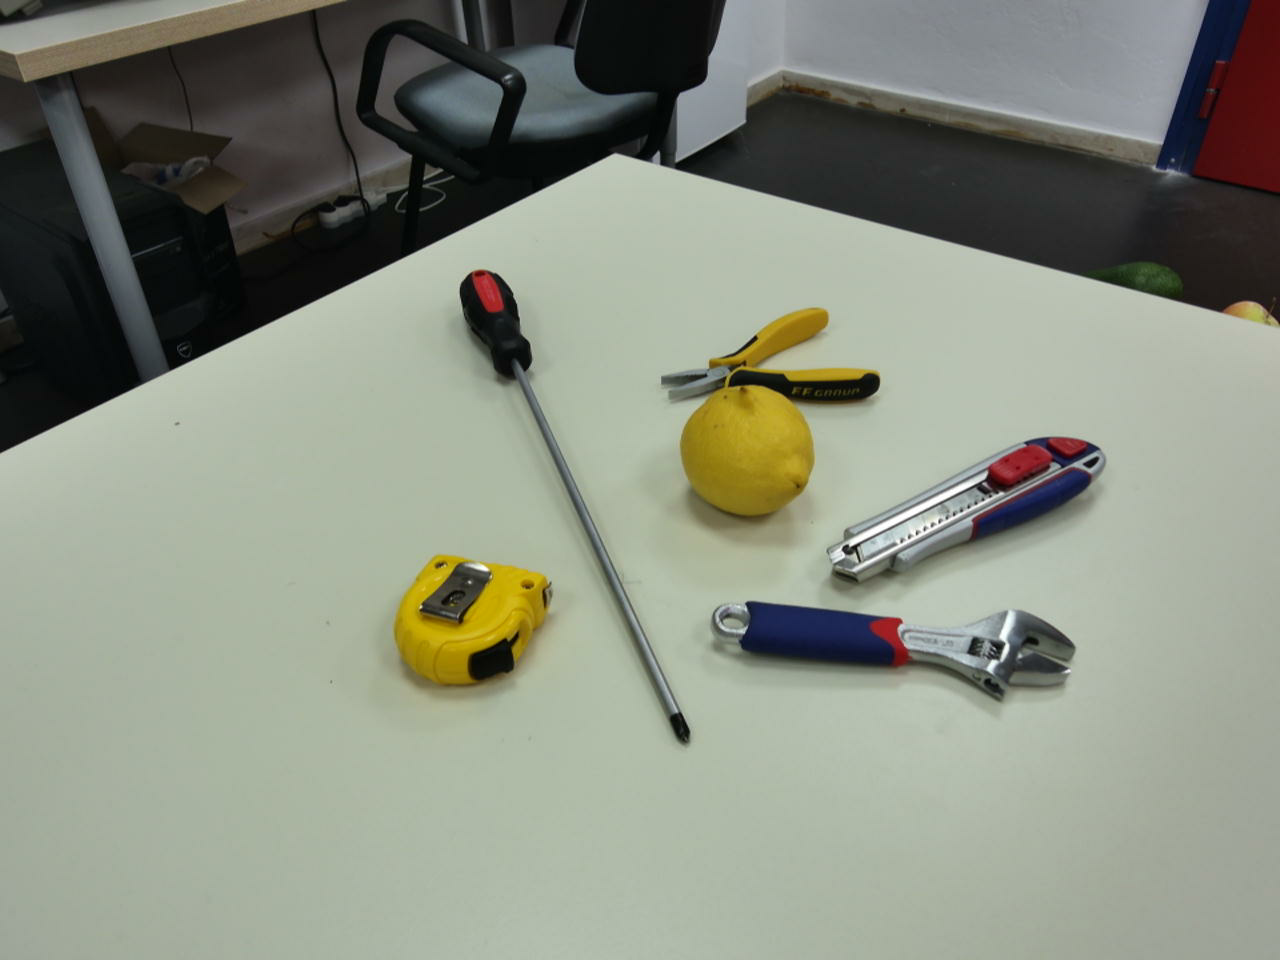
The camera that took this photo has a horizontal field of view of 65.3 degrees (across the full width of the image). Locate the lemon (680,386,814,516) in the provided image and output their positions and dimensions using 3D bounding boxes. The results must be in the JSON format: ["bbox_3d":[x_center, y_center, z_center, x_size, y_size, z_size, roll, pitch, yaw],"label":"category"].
[{"bbox_3d":[0.056,-0.019,0.528,0.070,0.071,0.071,3,37,3],"label":"lemon"}]
